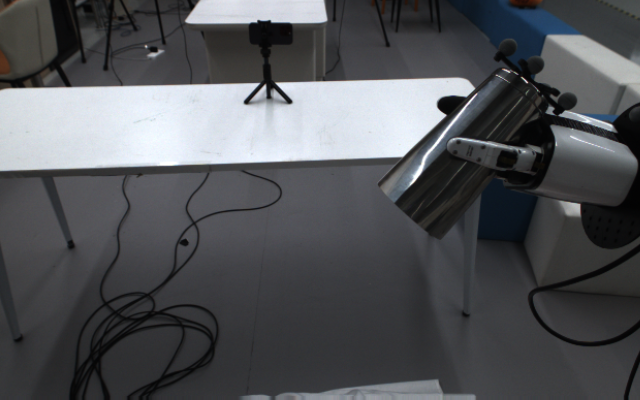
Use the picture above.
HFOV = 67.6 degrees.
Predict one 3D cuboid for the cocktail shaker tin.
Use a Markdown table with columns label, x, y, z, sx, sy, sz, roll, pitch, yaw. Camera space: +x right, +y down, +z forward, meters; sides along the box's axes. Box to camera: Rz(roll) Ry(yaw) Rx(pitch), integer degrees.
| label | x | y | z | sx | sy | sz | roll | pitch | yaw |
| --- | --- | --- | --- | --- | --- | --- | --- | --- | --- |
| cocktail shaker tin | 0.153 | -0.056 | 0.511 | 0.093 | 0.170 | 0.093 | 41 | 12 | -11 |
